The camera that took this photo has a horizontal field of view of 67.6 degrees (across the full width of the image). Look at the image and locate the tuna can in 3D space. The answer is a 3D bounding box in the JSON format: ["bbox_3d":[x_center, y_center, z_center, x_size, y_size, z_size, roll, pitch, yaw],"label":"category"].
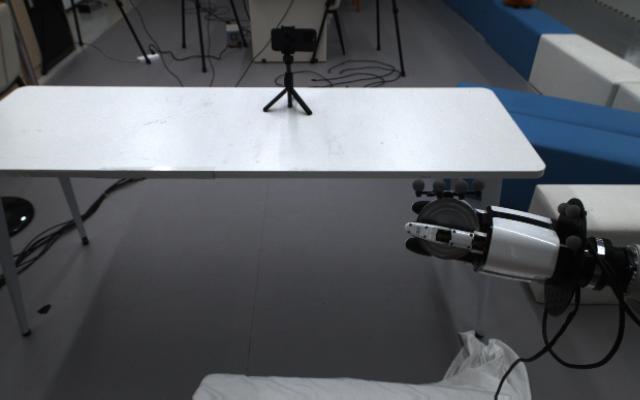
[{"bbox_3d":[0.179,0.036,0.675,0.085,0.085,0.034,15,10,18],"label":"tuna can"}]
